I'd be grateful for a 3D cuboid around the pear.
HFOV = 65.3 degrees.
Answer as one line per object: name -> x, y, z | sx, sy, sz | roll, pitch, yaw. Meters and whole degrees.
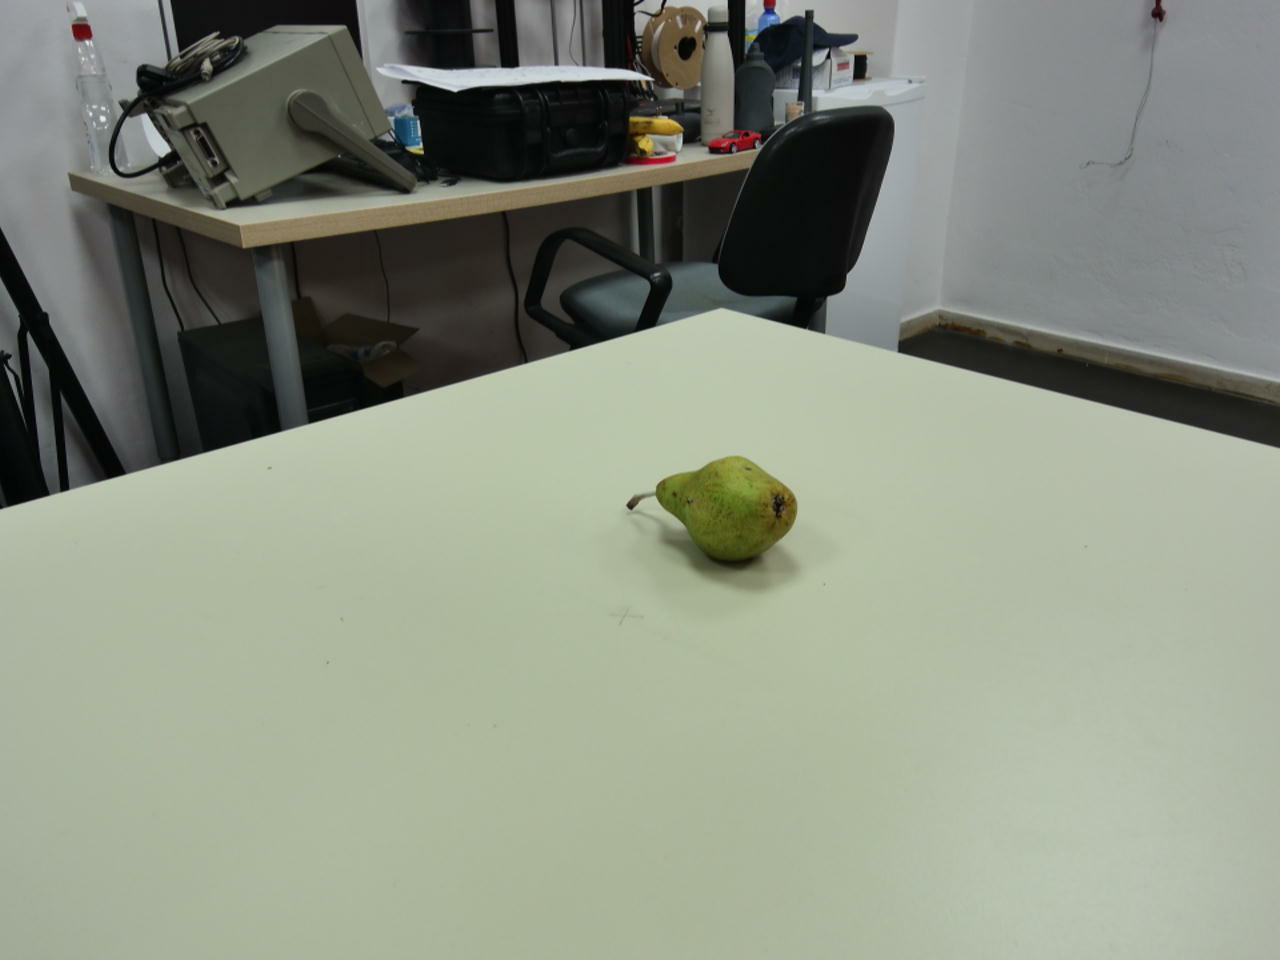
pear -> 0.042, 0.009, 0.560 | 0.056, 0.056, 0.111 | -10, 26, -24
